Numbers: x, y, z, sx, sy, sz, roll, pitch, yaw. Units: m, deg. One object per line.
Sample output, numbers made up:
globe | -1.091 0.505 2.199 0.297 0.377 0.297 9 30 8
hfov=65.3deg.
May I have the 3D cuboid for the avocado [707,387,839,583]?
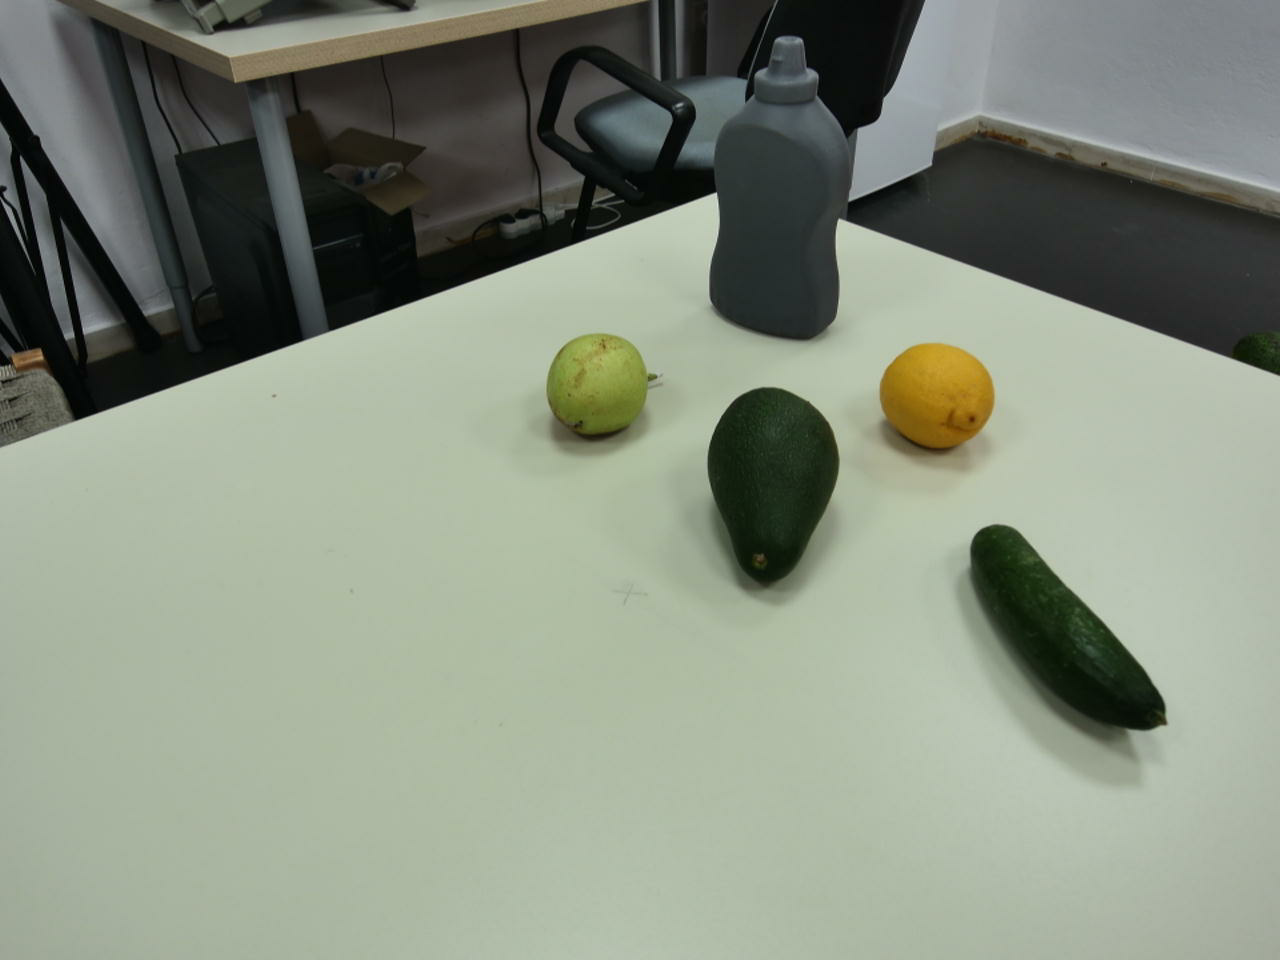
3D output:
avocado | 0.066 -0.002 0.529 0.073 0.071 0.109 17 39 22
